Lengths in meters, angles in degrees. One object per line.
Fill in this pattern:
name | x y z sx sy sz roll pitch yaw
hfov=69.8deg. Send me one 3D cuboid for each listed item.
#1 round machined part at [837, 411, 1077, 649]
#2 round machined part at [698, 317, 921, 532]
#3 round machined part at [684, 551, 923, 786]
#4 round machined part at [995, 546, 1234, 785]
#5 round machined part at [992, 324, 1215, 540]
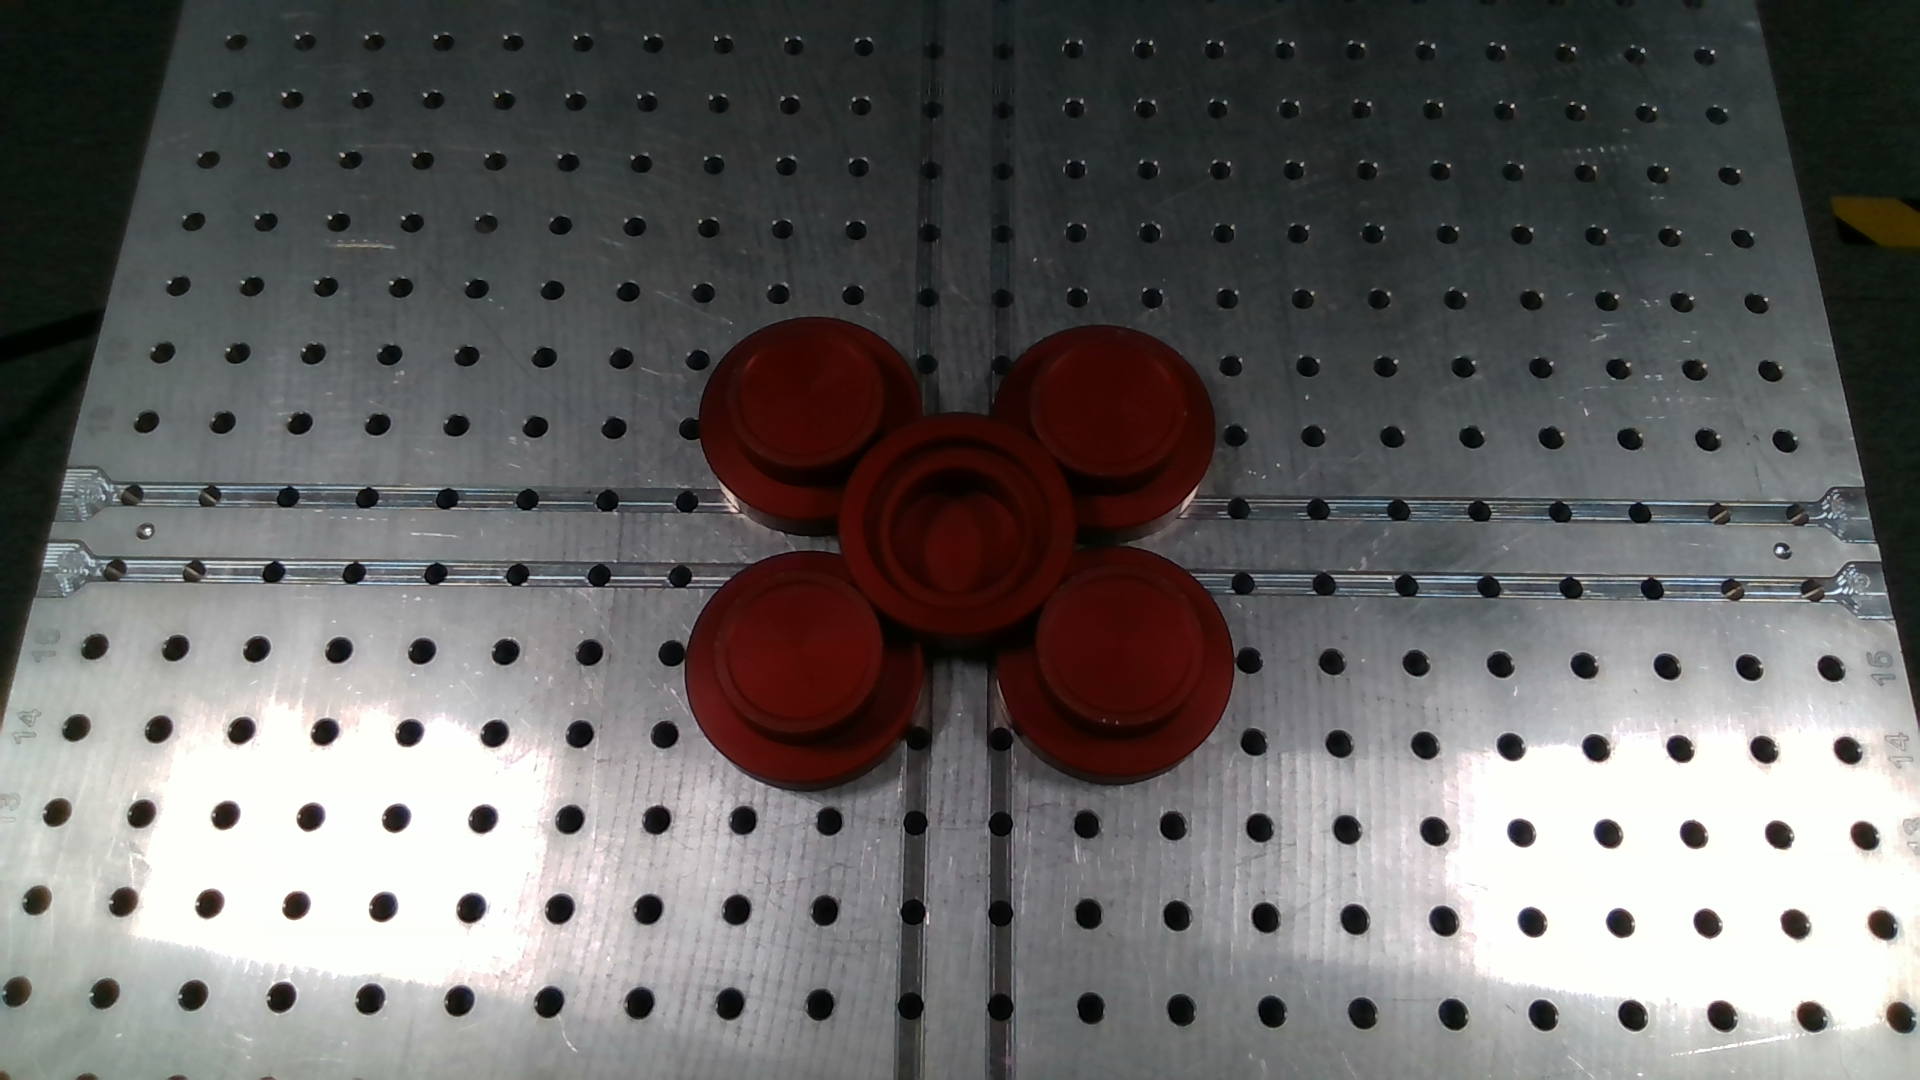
round machined part | -0.001 -0.001 0.580 0.098 0.042 0.098 0 70 0
round machined part | -0.066 -0.055 0.602 0.098 0.042 0.098 0 70 0
round machined part | -0.064 0.050 0.563 0.098 0.042 0.098 0 70 0
round machined part | 0.063 0.048 0.564 0.098 0.042 0.098 0 70 0
round machined part | 0.062 -0.051 0.599 0.098 0.042 0.098 0 70 0
